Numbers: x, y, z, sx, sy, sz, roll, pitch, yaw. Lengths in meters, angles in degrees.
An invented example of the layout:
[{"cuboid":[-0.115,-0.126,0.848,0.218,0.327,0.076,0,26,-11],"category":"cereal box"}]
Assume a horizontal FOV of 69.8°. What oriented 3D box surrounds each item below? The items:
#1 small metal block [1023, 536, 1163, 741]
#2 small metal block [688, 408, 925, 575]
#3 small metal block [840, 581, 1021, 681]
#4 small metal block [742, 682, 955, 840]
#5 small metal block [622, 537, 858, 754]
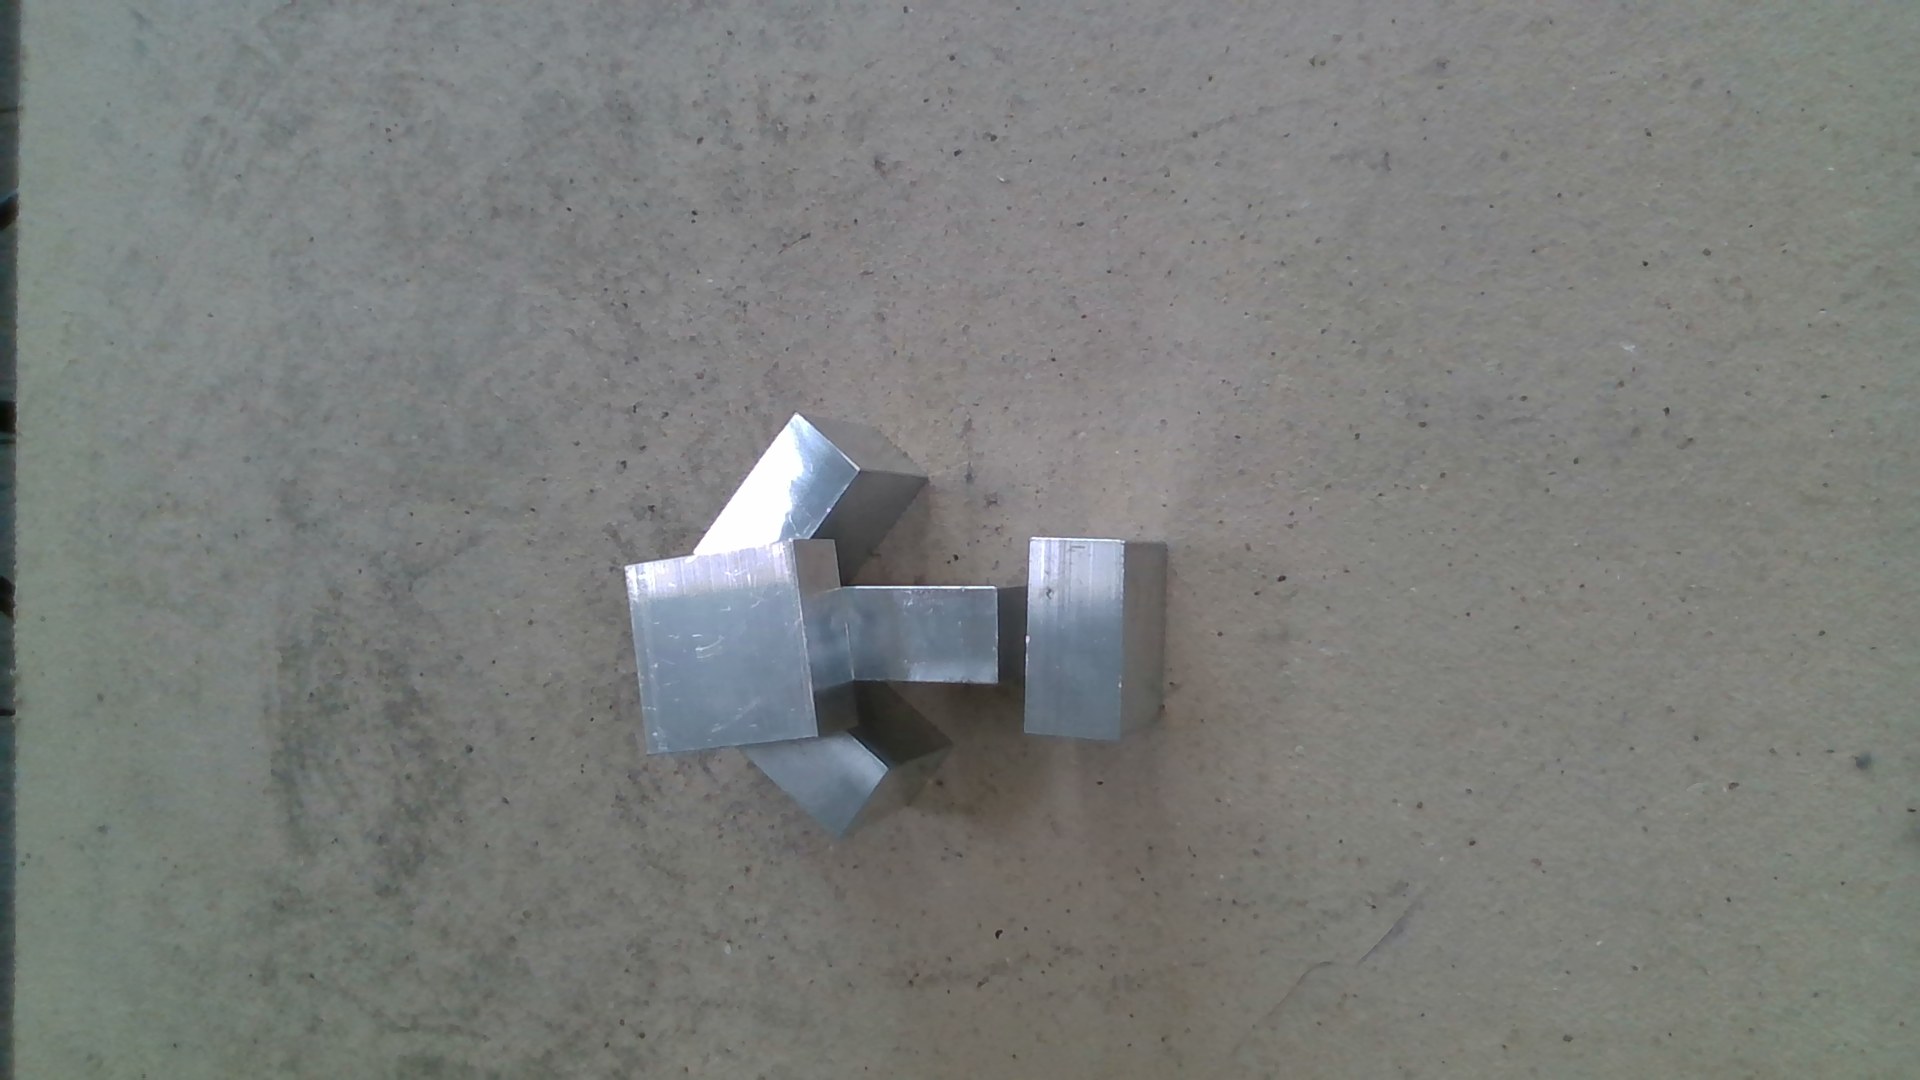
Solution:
[{"cuboid":[0.037,0.024,0.367,0.025,0.050,0.050,2,91,20],"category":"small metal block"},{"cuboid":[-0.043,-0.009,0.396,0.025,0.050,0.050,41,105,15],"category":"small metal block"},{"cuboid":[-0.005,0.024,0.384,0.050,0.050,0.025,-1,90,20],"category":"small metal block"},{"cuboid":[-0.036,0.055,0.395,0.050,0.050,0.025,39,102,16],"category":"small metal block"},{"cuboid":[-0.058,0.028,0.363,0.050,0.025,0.050,-9,87,20],"category":"small metal block"}]
